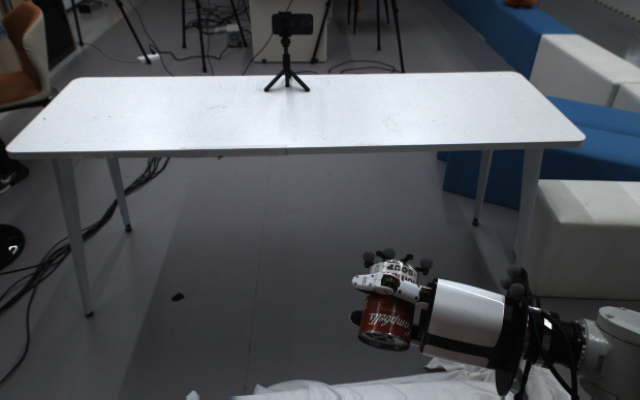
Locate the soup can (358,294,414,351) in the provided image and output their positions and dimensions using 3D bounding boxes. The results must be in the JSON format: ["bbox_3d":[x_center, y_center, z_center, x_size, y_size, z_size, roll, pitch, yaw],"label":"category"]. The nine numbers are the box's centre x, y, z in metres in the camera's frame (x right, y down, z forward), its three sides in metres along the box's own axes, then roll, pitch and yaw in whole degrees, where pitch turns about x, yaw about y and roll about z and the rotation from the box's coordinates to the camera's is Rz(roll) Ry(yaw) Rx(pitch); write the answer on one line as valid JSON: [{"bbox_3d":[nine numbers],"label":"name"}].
[{"bbox_3d":[0.093,0.137,0.635,0.067,0.067,0.101,9,58,10],"label":"soup can"}]
